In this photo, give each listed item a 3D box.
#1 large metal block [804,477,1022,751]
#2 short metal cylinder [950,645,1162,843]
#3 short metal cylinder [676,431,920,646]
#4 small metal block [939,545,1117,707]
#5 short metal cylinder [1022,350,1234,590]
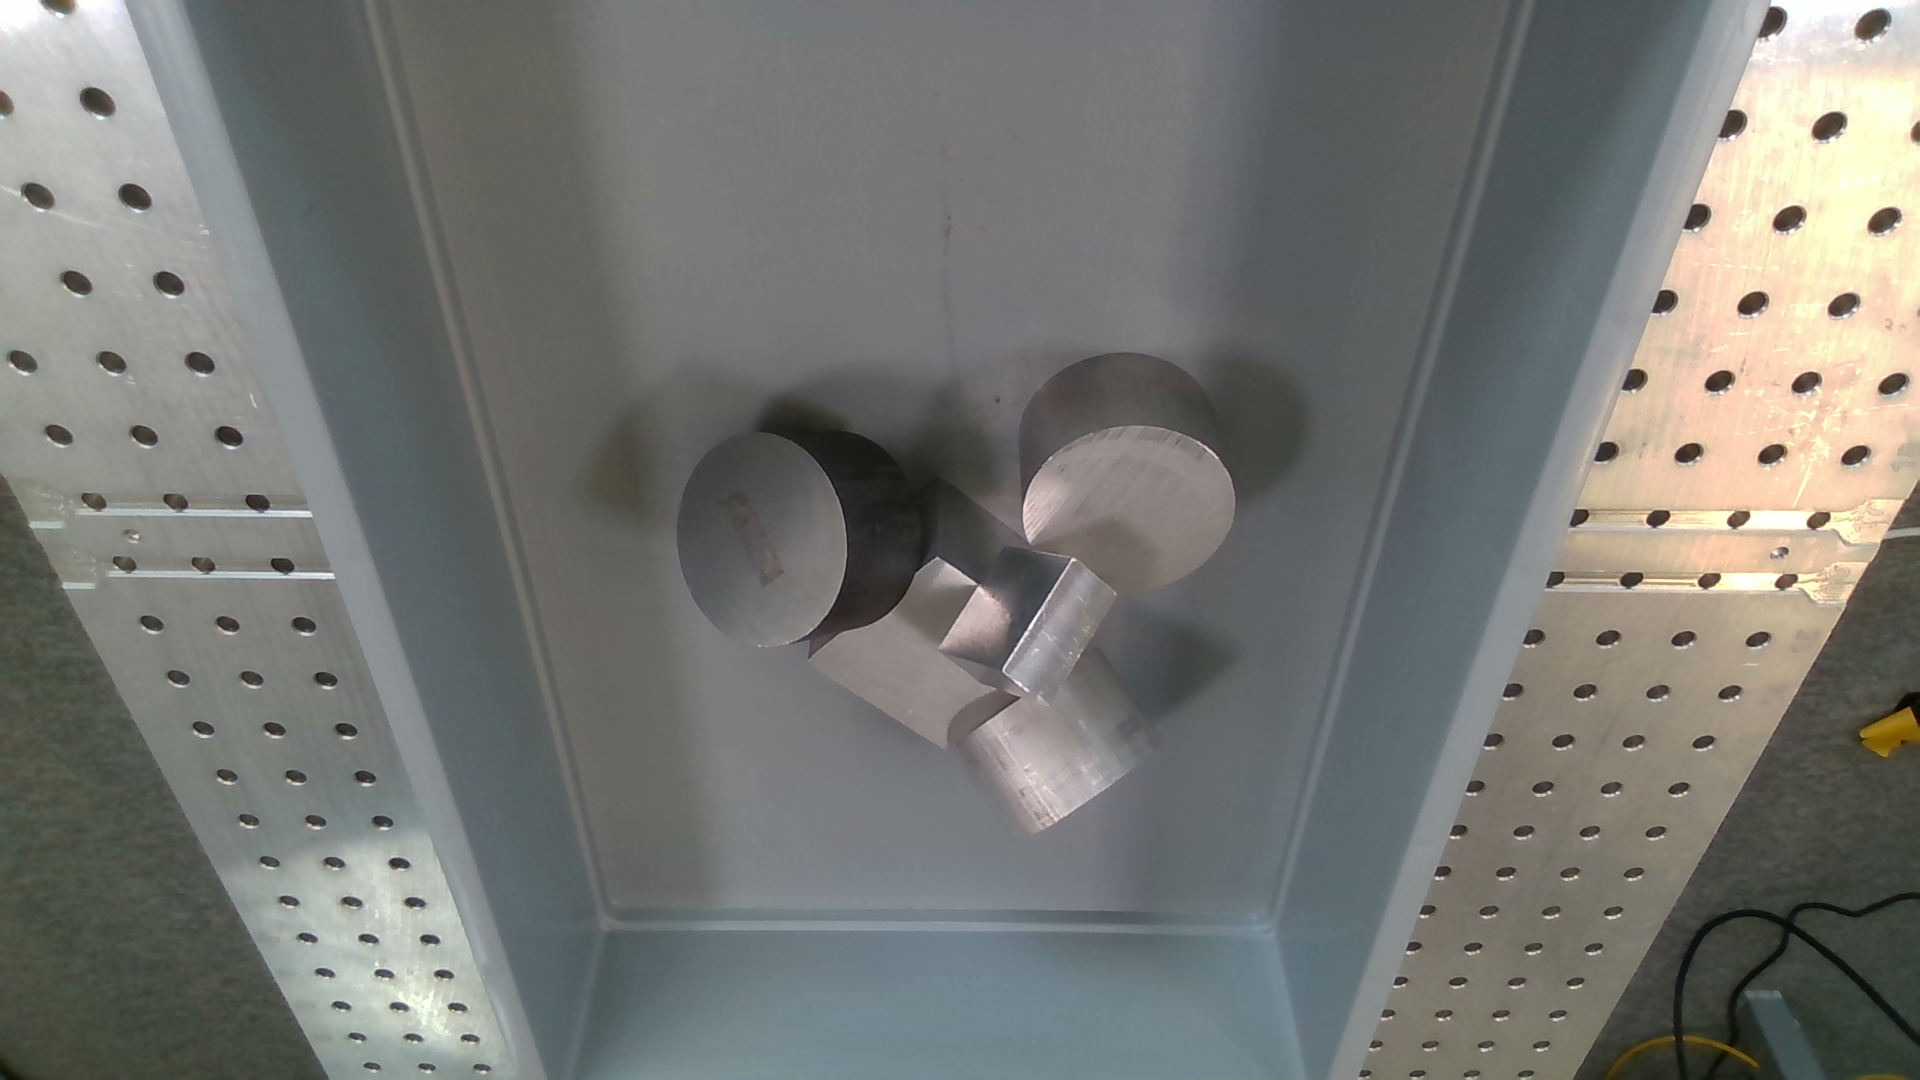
[{"bbox_3d":[-0.008,0.033,0.587,0.080,0.050,0.080,37,121,-27],"label":"large metal block"},{"bbox_3d":[0.042,0.090,0.609,0.080,0.080,0.050,-39,81,28],"label":"short metal cylinder"},{"bbox_3d":[-0.063,-0.002,0.533,0.080,0.050,0.080,3,96,31],"label":"short metal cylinder"},{"bbox_3d":[0.025,0.031,0.524,0.025,0.050,0.050,39,76,-26],"label":"small metal block"},{"bbox_3d":[0.063,-0.027,0.540,0.080,0.050,0.080,0,130,0],"label":"short metal cylinder"}]
